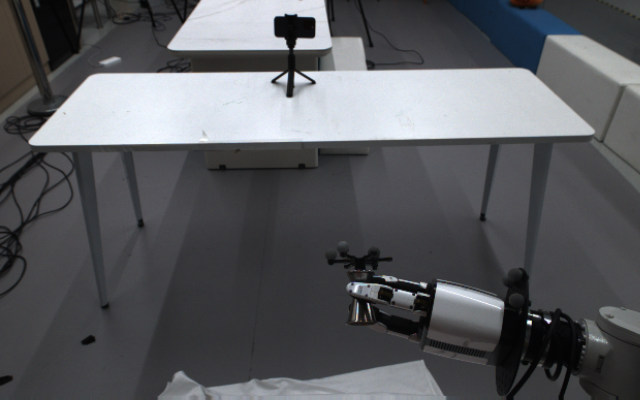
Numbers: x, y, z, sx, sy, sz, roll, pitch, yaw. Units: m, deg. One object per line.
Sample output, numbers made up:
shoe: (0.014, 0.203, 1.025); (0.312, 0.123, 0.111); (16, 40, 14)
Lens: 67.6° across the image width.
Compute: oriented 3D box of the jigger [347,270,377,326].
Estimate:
jigger: (0.056, 0.129, 0.646); (0.043, 0.043, 0.071); (1, 70, -2)
